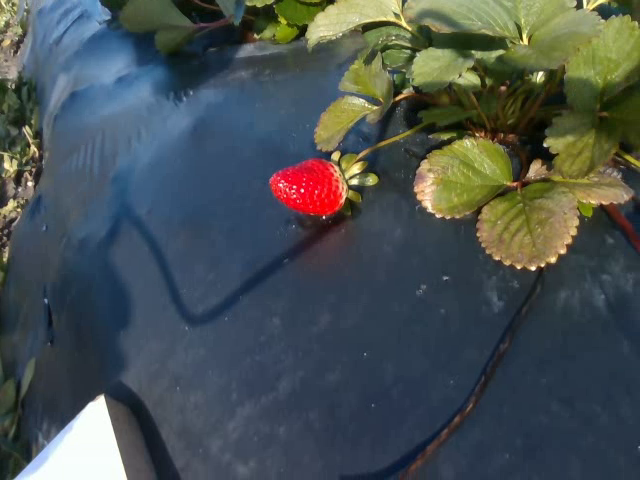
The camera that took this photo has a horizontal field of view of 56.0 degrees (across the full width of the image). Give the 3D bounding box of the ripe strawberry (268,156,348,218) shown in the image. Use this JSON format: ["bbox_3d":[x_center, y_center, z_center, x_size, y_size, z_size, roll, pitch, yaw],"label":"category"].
[{"bbox_3d":[-0.006,-0.022,0.245,0.041,0.031,0.028,6,-3,-44],"label":"ripe strawberry"}]
